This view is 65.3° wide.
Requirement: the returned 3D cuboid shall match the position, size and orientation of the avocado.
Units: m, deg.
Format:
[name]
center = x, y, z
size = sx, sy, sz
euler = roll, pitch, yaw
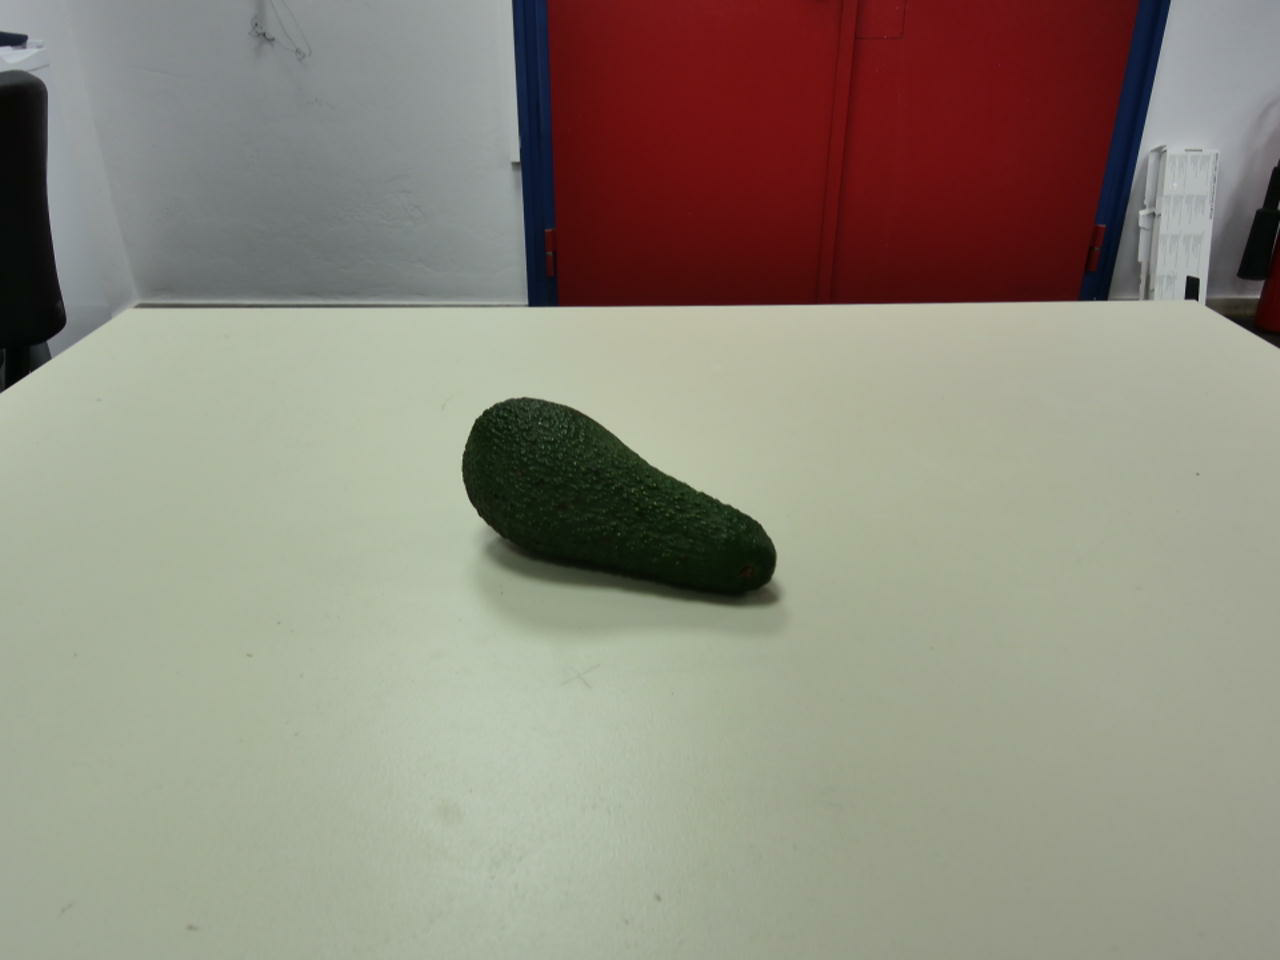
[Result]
[avocado]
center = -0.009, 0.002, 0.418
size = 0.141, 0.067, 0.063
euler = 6, 25, 14
